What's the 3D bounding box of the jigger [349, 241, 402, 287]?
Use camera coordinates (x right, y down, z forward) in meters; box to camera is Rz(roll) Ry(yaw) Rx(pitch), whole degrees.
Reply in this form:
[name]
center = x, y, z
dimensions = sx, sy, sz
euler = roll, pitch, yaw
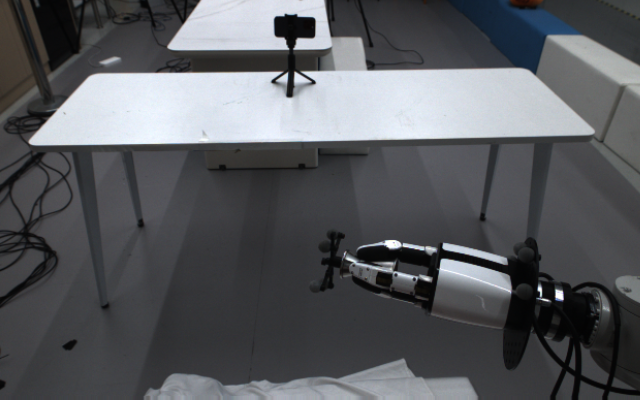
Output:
[jigger]
center = 0.070, 0.086, 0.628
dimensions = 0.071, 0.043, 0.043
euler = 10, 35, 16
